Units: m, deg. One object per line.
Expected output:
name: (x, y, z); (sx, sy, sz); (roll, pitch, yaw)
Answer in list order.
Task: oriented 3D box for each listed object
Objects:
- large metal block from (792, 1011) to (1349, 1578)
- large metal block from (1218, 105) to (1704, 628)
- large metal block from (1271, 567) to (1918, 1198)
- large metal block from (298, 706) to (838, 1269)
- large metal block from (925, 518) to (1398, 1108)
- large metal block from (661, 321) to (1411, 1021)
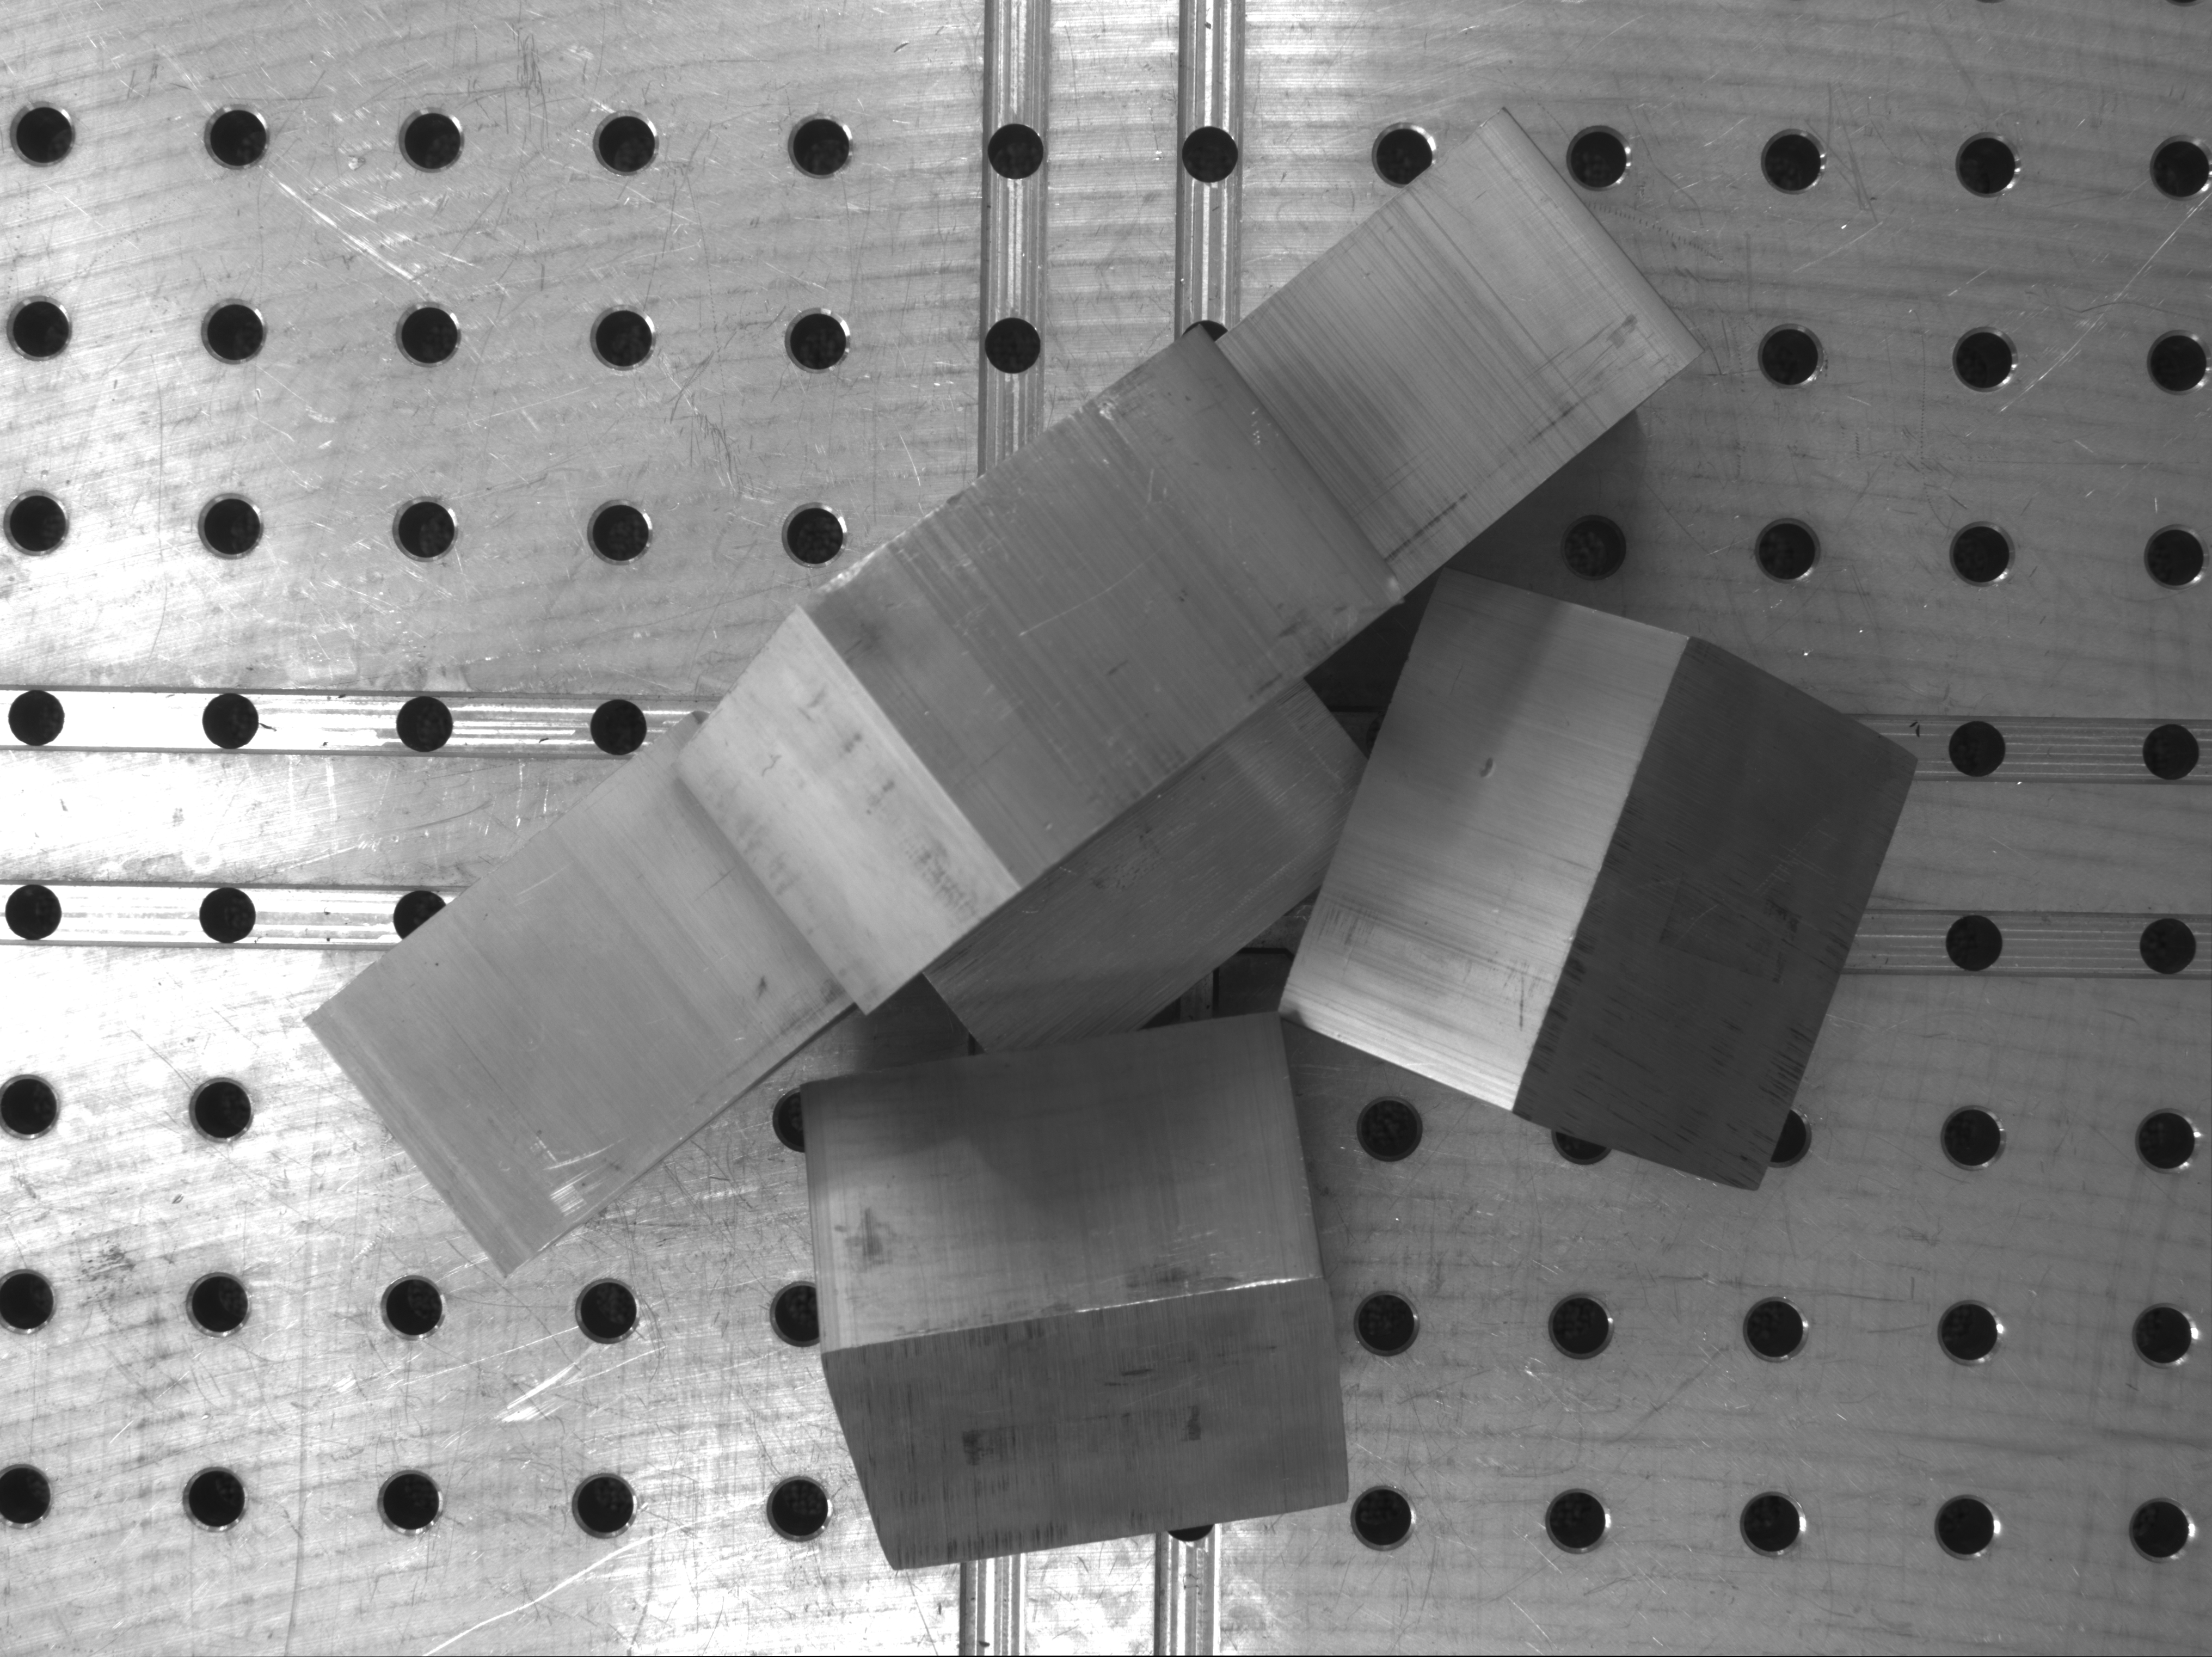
large metal block: (-0.005, 0.079, 0.614); (0.080, 0.080, 0.050); (-9, 53, 0)
large metal block: (0.048, -0.070, 0.621); (0.080, 0.080, 0.050); (-39, 90, 0)
large metal block: (0.082, 0.010, 0.614); (0.050, 0.080, 0.080); (20, 90, 41)
large metal block: (-0.081, 0.025, 0.619); (0.080, 0.080, 0.050); (-38, 90, 0)
large metal block: (-0.006, -0.008, 0.637); (0.080, 0.050, 0.080); (-39, 90, 0)
large metal block: (-0.013, -0.022, 0.558); (0.080, 0.080, 0.050); (-37, 90, -25)
